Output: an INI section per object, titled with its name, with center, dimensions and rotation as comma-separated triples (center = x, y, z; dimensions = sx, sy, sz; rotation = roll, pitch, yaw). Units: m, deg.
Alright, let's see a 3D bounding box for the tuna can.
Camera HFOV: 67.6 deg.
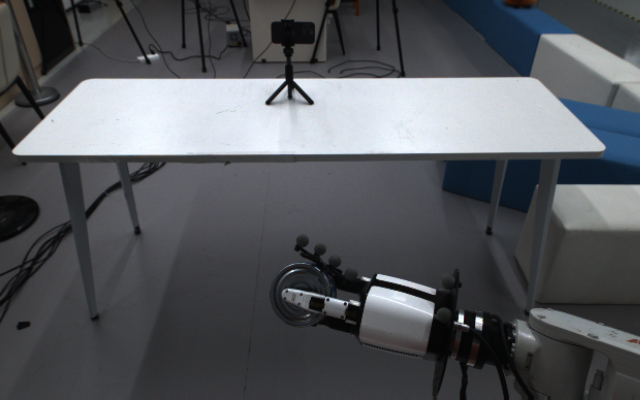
[tuna can]
center = -0.019, 0.131, 0.643
dimensions = 0.085, 0.085, 0.034
rotation = 13, -4, 15
